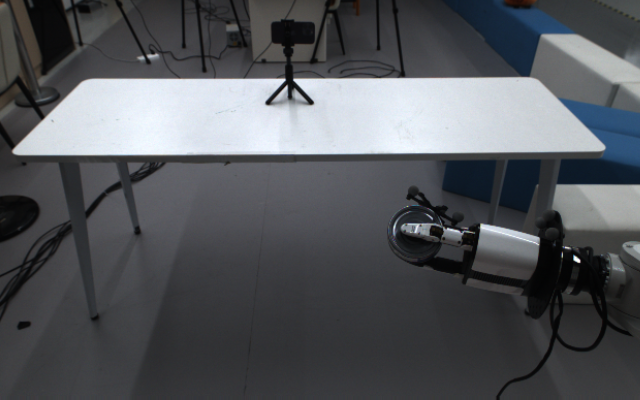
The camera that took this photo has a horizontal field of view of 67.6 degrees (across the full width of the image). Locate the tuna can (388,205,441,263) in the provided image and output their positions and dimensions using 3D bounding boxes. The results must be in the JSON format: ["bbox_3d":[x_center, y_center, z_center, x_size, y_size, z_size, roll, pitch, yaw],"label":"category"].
[{"bbox_3d":[0.151,0.057,0.742,0.085,0.034,0.085,-4,69,10],"label":"tuna can"}]
